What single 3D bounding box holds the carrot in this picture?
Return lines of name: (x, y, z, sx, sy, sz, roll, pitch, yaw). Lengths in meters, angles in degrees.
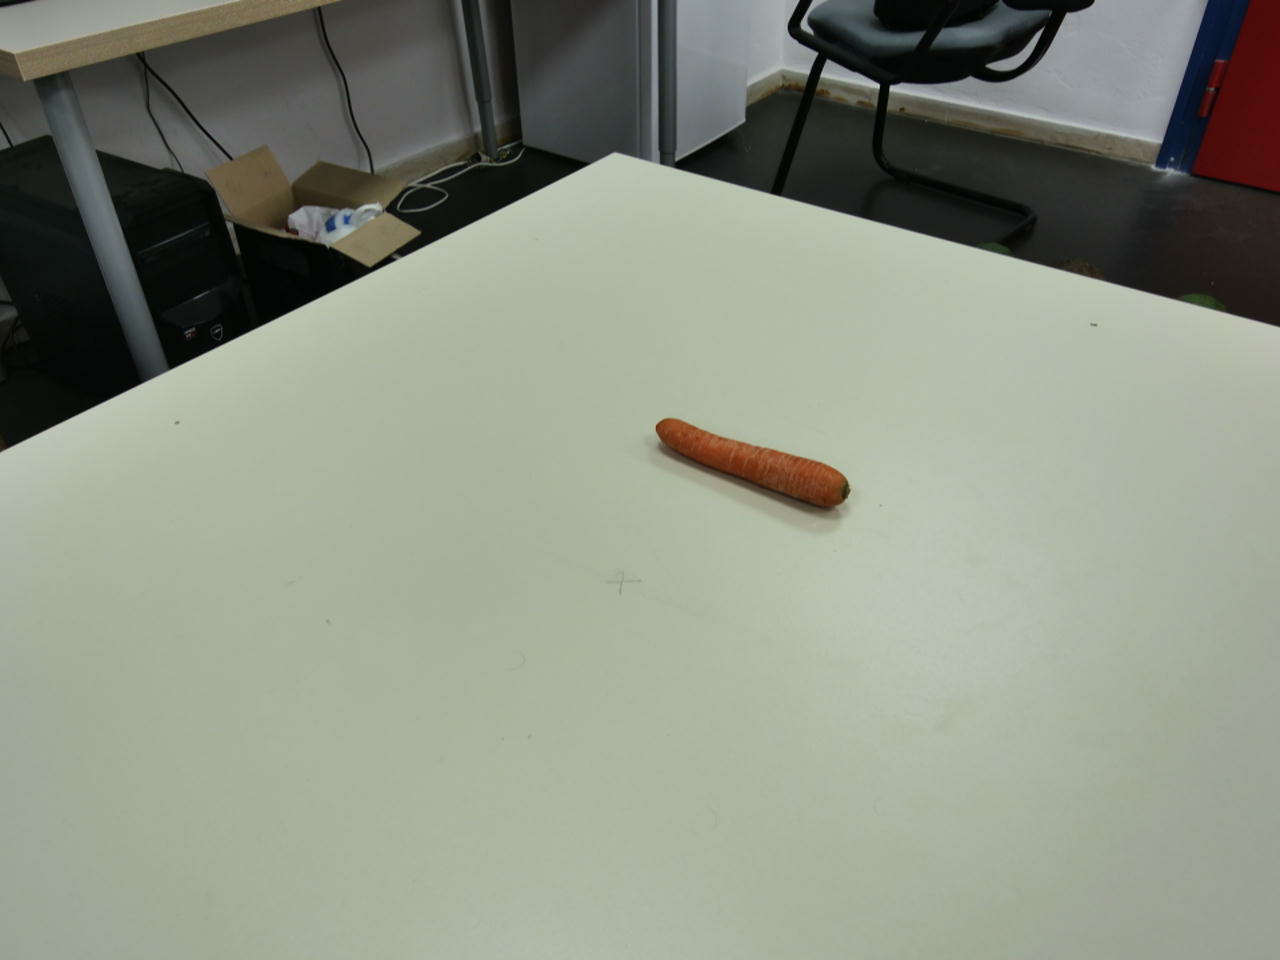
carrot: (0.060, -0.012, 0.562, 0.122, 0.023, 0.024, 23, 43, 27)
